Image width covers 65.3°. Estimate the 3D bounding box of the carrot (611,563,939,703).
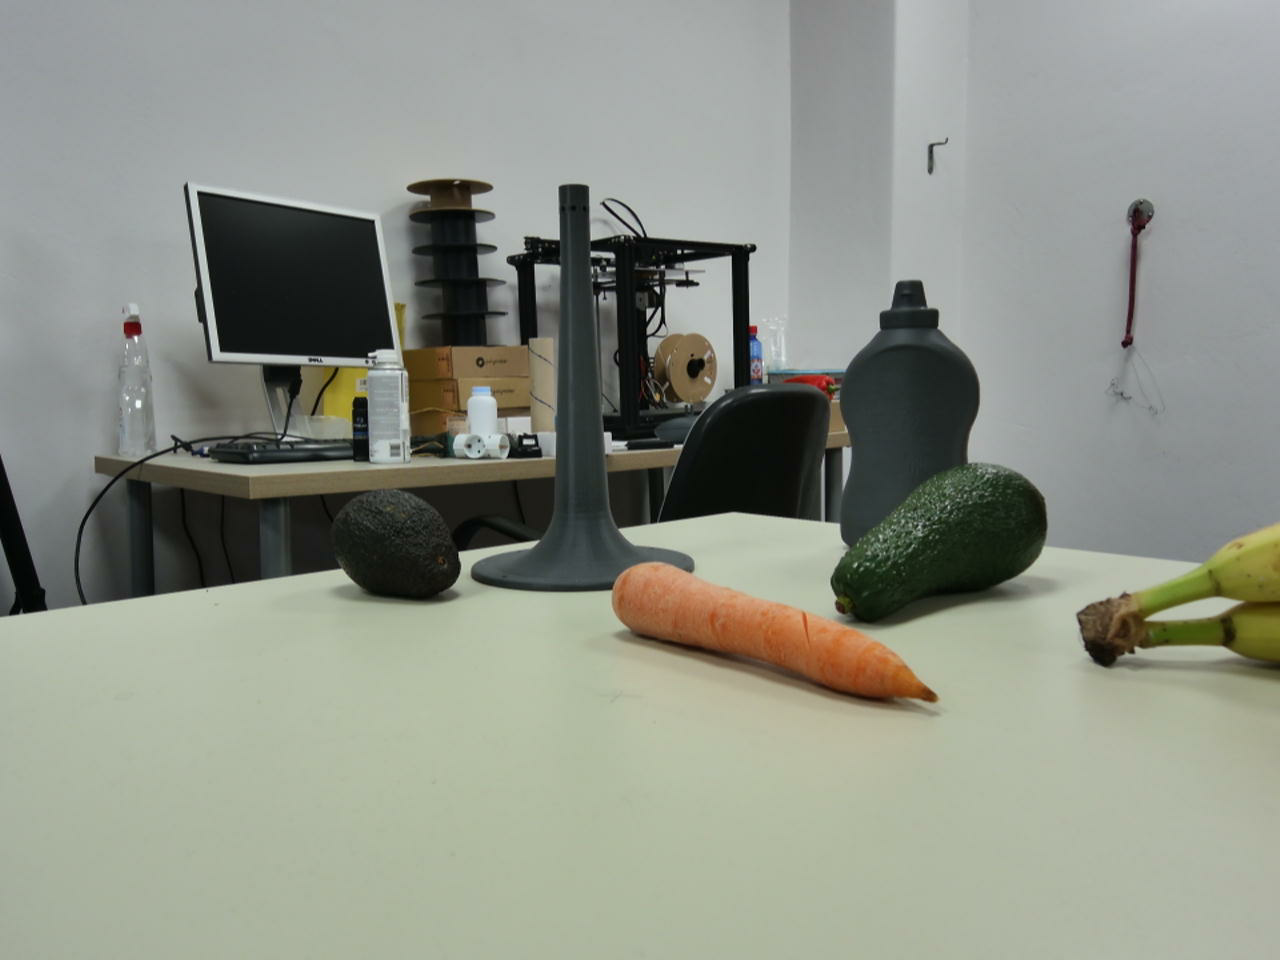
[{"bbox_3d":[0.057,0.069,0.474,0.039,0.041,0.196,-2,5,-41],"label":"carrot"}]
